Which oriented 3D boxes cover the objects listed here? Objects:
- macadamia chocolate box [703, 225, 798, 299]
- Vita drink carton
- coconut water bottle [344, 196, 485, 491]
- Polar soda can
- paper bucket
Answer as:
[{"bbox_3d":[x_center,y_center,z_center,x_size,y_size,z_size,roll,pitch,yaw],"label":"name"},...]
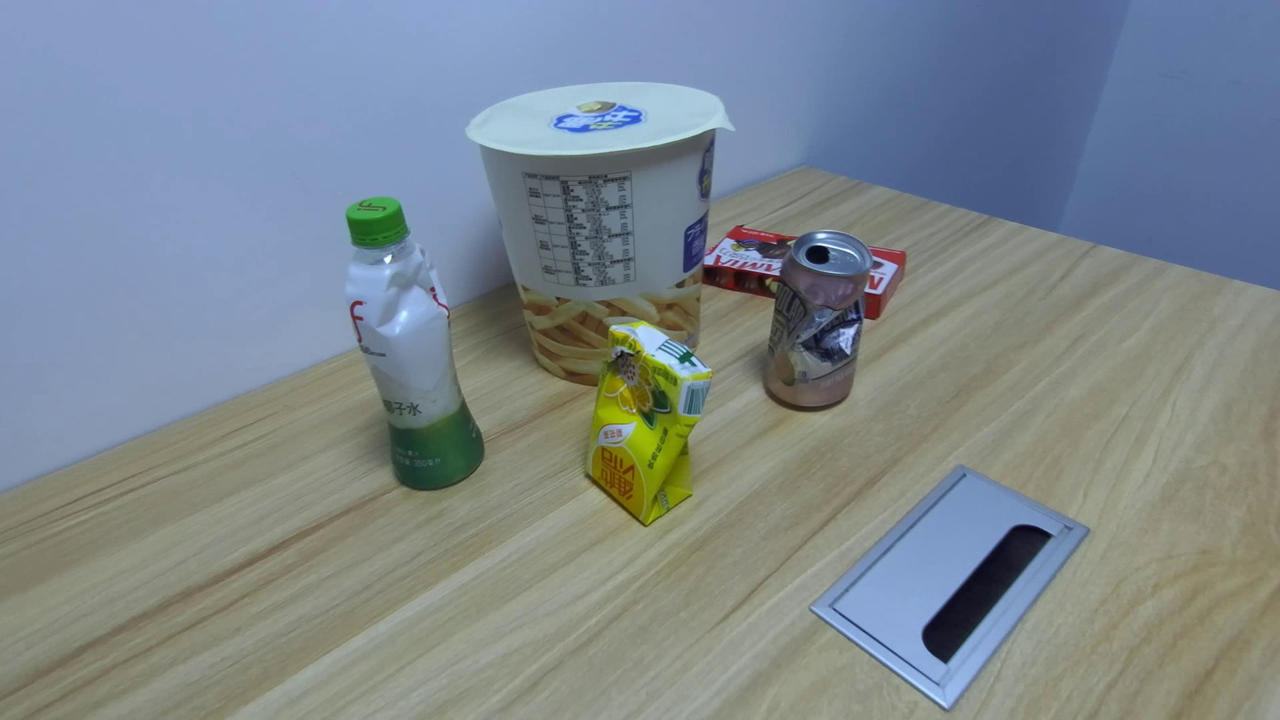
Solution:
[{"bbox_3d":[0.155,-0.090,0.687,0.182,0.028,0.106,15,38,26],"label":"macadamia chocolate box"},{"bbox_3d":[0.006,0.037,0.441,0.042,0.108,0.086,-13,35,-40],"label":"Vita drink carton"},{"bbox_3d":[-0.146,-0.007,0.446,0.069,0.186,0.069,-3,35,2],"label":"coconut water bottle"},{"bbox_3d":[0.130,-0.024,0.510,0.066,0.122,0.071,5,36,2],"label":"Polar soda can"},{"bbox_3d":[-0.026,-0.100,0.570,0.198,0.195,0.198,-2,34,2],"label":"paper bucket"}]
